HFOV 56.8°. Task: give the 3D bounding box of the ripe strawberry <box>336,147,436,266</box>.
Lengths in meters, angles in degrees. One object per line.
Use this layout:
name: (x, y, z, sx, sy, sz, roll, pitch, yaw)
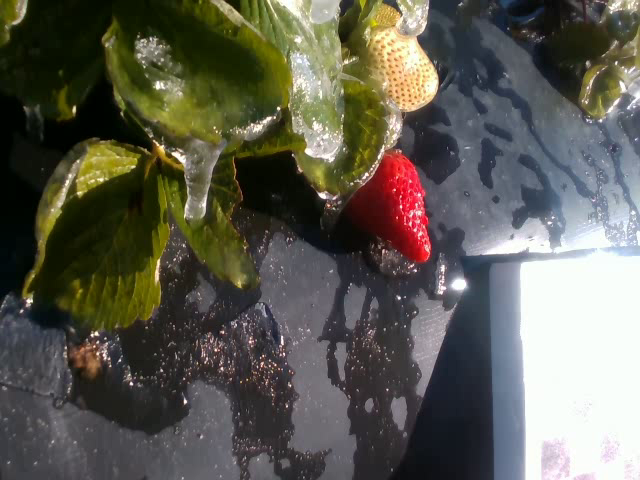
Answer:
ripe strawberry: (0.040, -0.014, 0.252, 0.041, 0.052, 0.040, -22, 2, -32)
